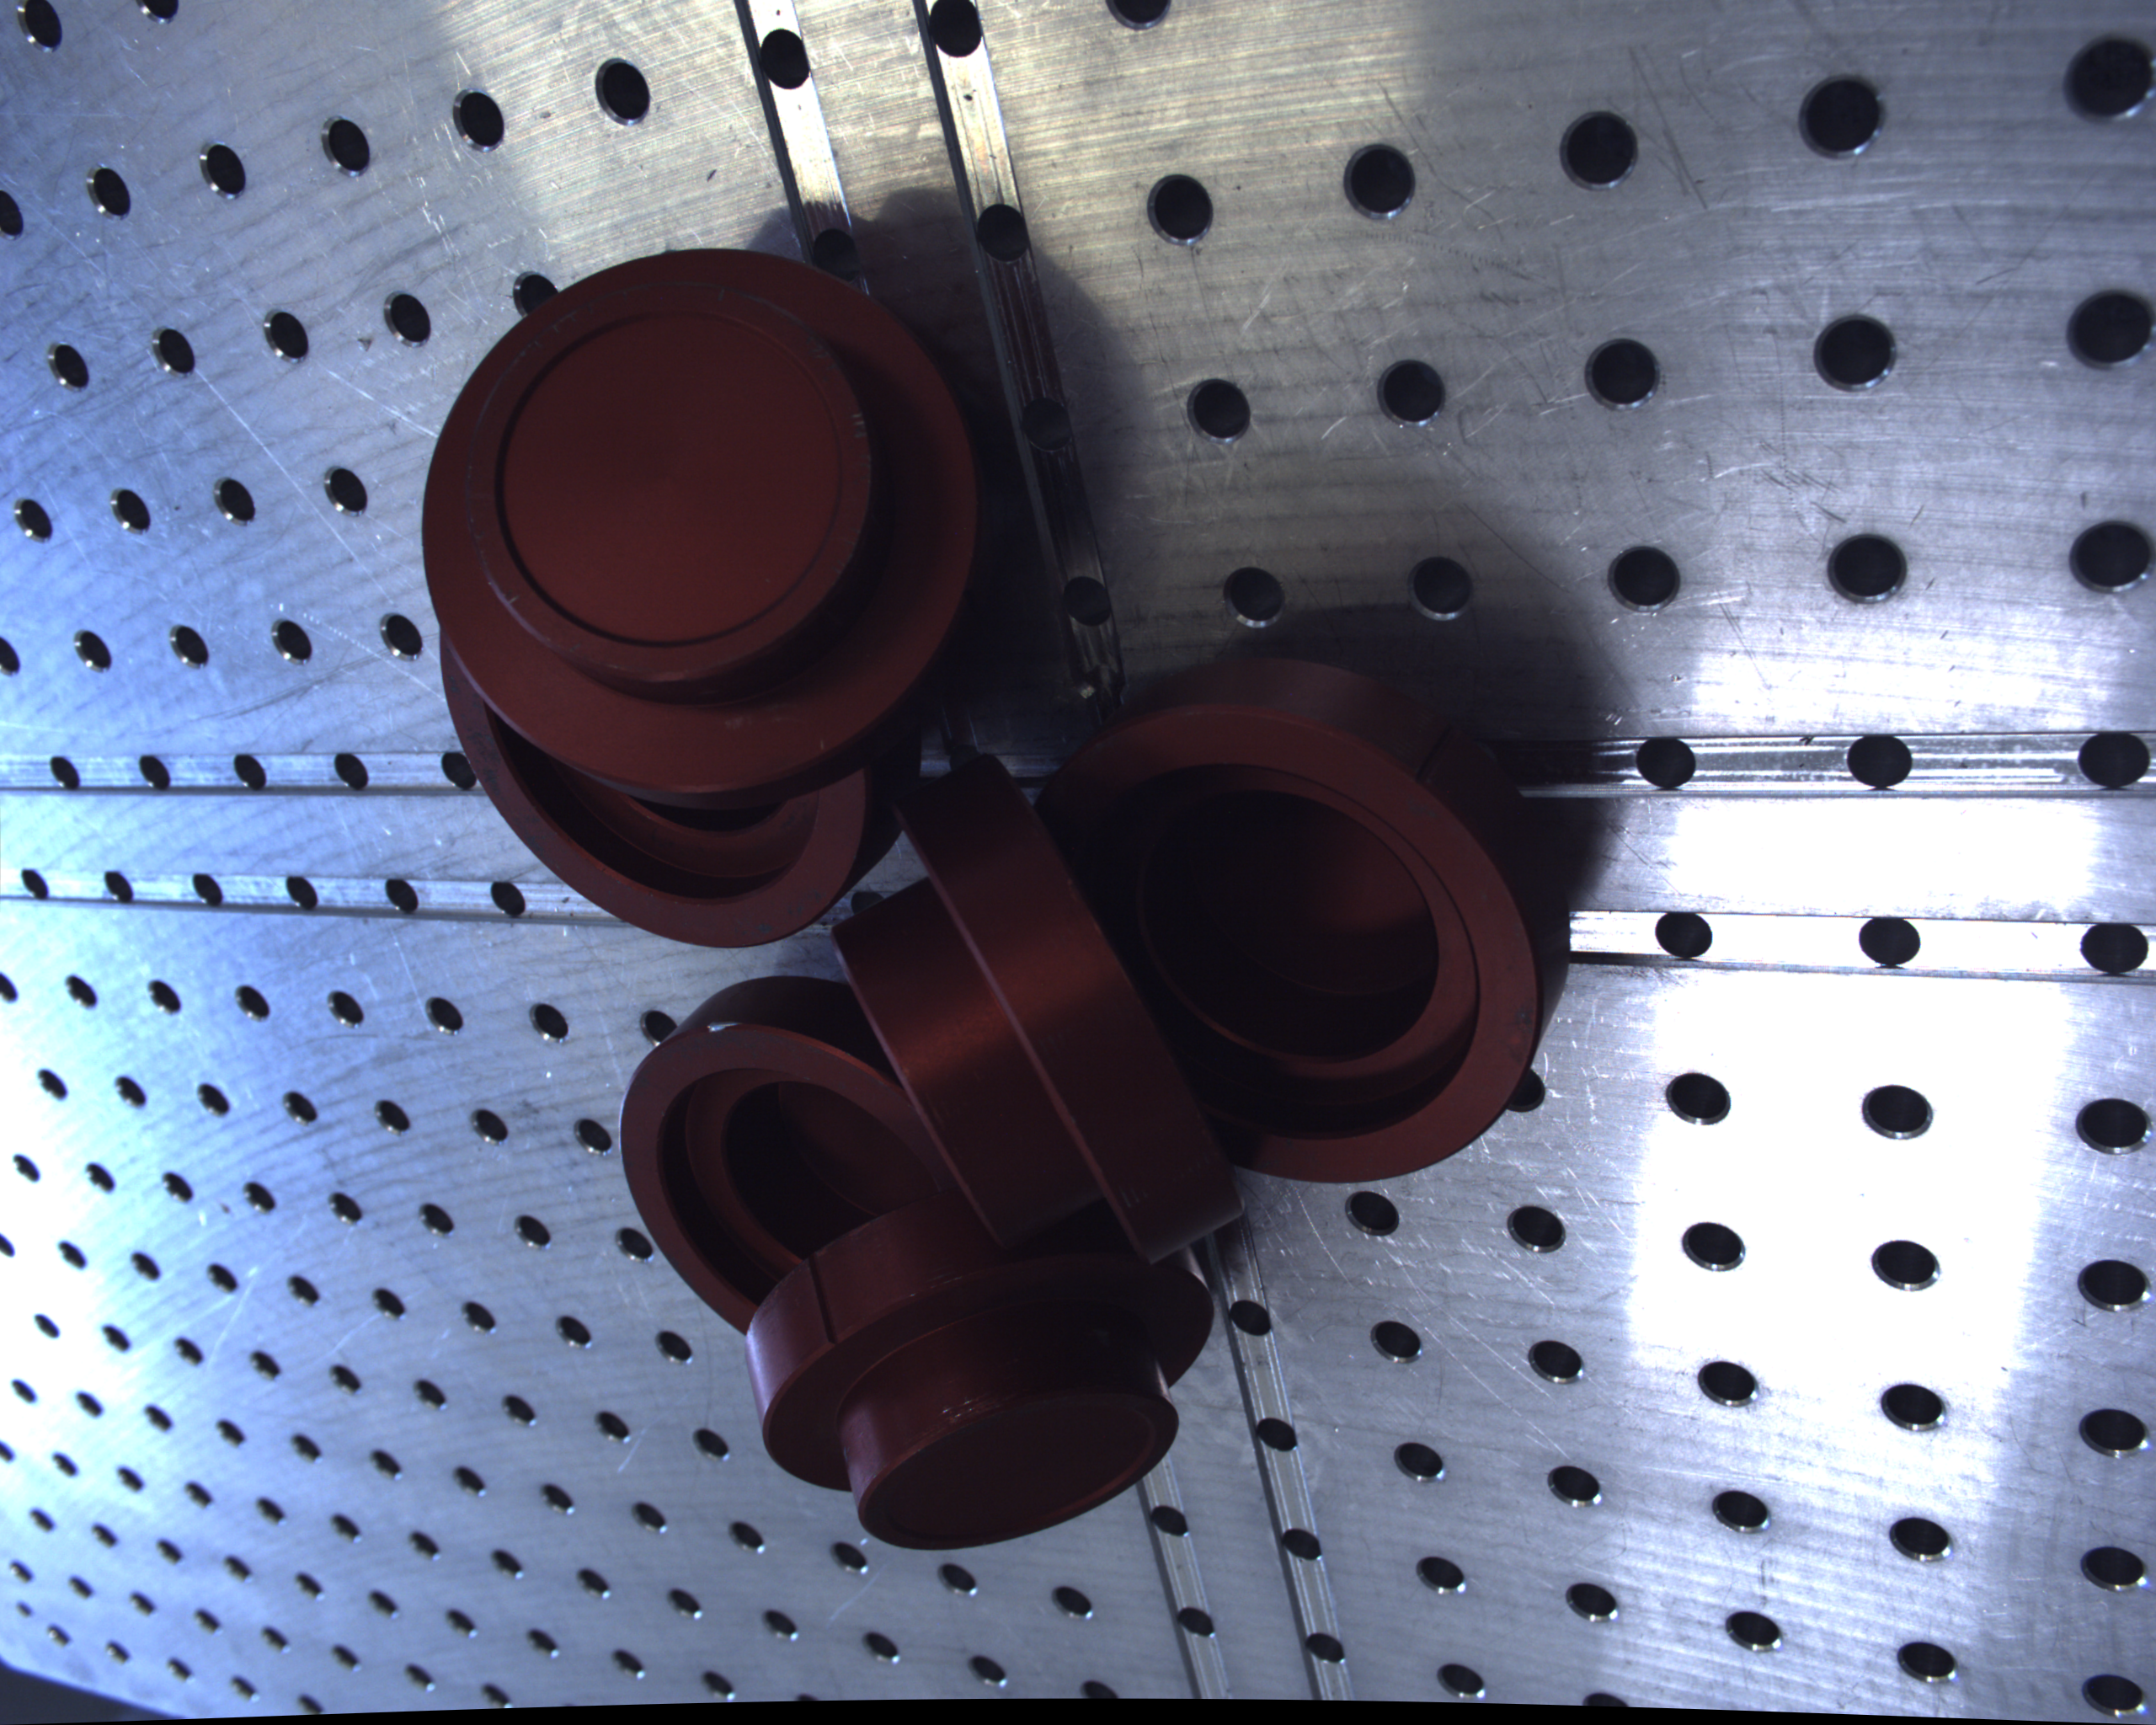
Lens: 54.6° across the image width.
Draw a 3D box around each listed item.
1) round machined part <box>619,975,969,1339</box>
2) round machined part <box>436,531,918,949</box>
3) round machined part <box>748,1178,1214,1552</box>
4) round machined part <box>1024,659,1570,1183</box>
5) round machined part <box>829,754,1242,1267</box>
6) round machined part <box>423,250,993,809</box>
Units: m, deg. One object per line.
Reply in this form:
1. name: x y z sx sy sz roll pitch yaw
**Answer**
1. round machined part: -0.050 0.066 0.467 0.098 0.042 0.097 13 124 21
2. round machined part: -0.075 -0.035 0.418 0.098 0.042 0.097 13 124 21
3. round machined part: -0.017 0.110 0.441 0.099 0.042 0.098 -13 142 -11
4. round machined part: 0.041 0.007 0.383 0.098 0.042 0.097 13 124 21
5. round machined part: -0.012 0.032 0.388 0.042 0.098 0.098 -29 107 -6
6. round machined part: -0.065 -0.061 0.362 0.098 0.042 0.098 0 82 2
